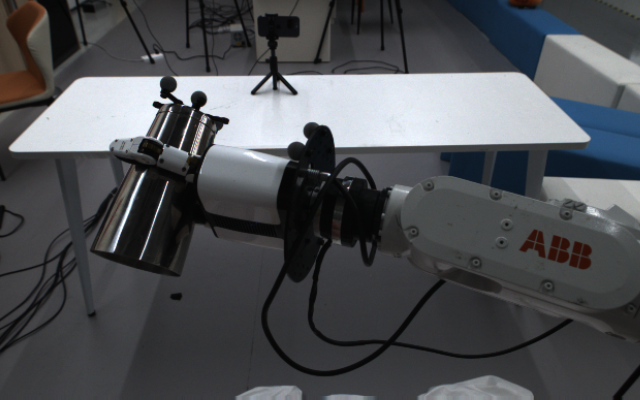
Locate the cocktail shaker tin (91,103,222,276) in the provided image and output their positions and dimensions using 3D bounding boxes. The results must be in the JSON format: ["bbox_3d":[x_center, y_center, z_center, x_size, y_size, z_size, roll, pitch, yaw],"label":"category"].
[{"bbox_3d":[-0.166,-0.012,0.516,0.093,0.093,0.170,10,71,11],"label":"cocktail shaker tin"}]
